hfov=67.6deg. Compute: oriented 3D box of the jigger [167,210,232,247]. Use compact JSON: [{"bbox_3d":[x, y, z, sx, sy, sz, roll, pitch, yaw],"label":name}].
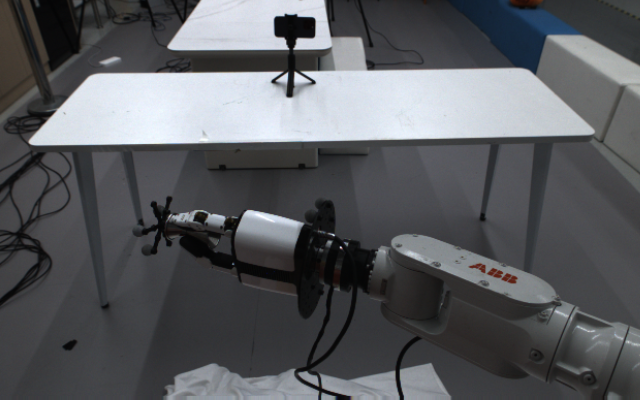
[{"bbox_3d":[-0.175,0.038,0.689,0.071,0.043,0.043,8,35,14],"label":"jigger"}]
